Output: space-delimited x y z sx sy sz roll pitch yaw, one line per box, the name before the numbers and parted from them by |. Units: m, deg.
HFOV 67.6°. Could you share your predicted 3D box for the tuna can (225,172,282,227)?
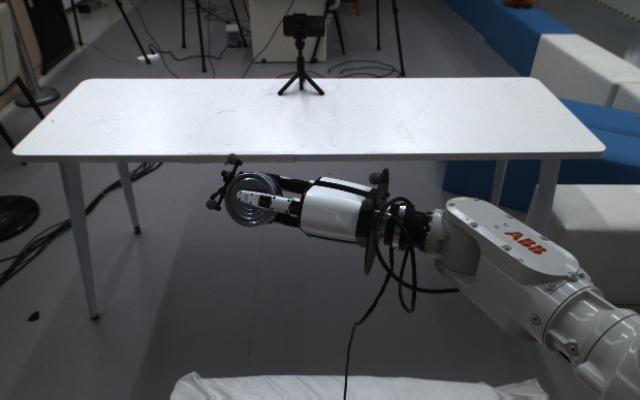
tuna can | -0.101 0.002 0.745 0.085 0.085 0.034 10 5 11
